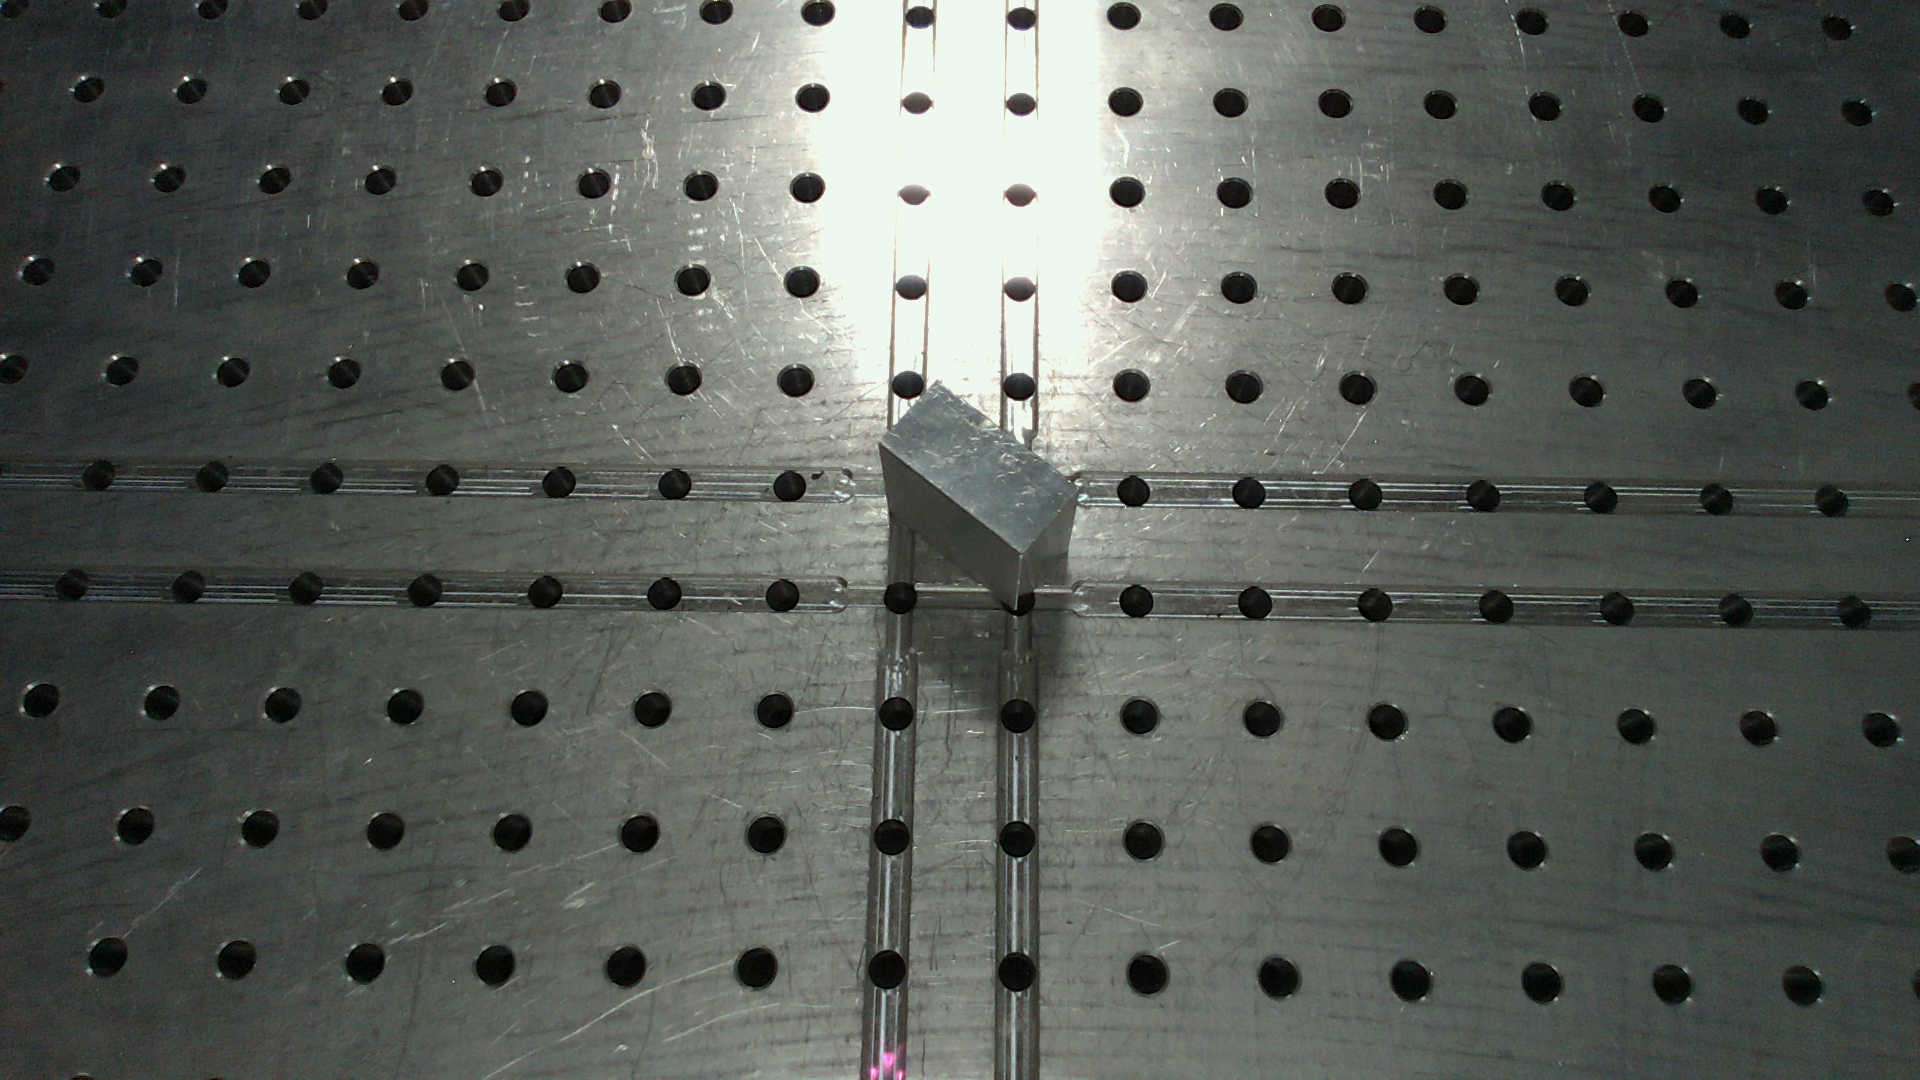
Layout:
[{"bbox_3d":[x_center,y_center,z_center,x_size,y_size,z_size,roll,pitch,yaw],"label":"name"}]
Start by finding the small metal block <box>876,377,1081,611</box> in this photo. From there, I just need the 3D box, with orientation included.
[{"bbox_3d":[0.005,-0.012,0.388,0.050,0.050,0.025,38,75,13],"label":"small metal block"}]
